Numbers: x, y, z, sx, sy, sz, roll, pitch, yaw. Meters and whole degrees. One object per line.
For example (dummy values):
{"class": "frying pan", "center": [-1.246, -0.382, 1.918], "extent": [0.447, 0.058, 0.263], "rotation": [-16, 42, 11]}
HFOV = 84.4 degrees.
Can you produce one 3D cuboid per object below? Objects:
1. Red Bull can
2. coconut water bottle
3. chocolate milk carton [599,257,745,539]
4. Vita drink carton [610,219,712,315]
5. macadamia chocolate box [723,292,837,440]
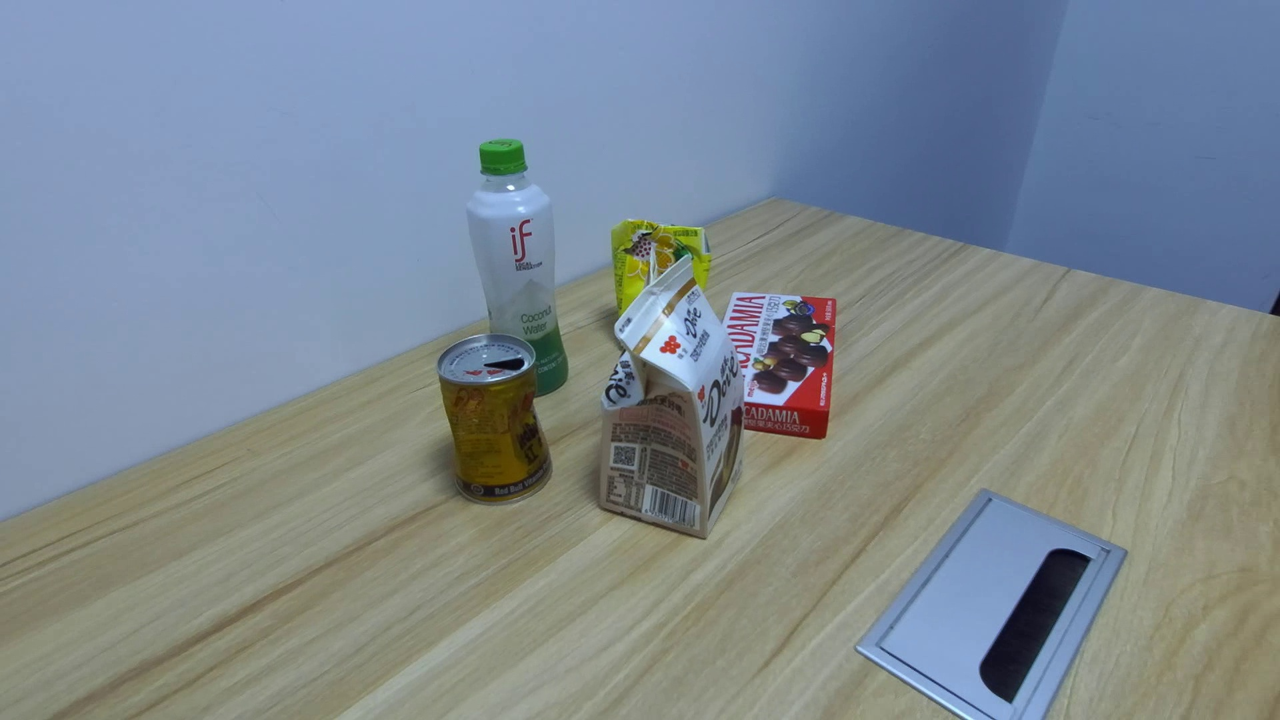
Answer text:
{"class": "Red Bull can", "center": [-0.093, 0.038, 0.455], "extent": [0.072, 0.092, 0.072], "rotation": [-1, 29, 1]}
{"class": "coconut water bottle", "center": [-0.093, -0.066, 0.532], "extent": [0.063, 0.189, 0.063], "rotation": [-2, 29, 1]}
{"class": "chocolate milk carton", "center": [0.018, 0.017, 0.419], "extent": [0.073, 0.156, 0.076], "rotation": [10, 33, 22]}
{"class": "Vita drink carton", "center": [0.017, -0.065, 0.604], "extent": [0.087, 0.108, 0.042], "rotation": [4, 14, 5]}
{"class": "macadamia chocolate box", "center": [0.108, -0.003, 0.572], "extent": [0.095, 0.027, 0.178], "rotation": [6, 32, 14]}
